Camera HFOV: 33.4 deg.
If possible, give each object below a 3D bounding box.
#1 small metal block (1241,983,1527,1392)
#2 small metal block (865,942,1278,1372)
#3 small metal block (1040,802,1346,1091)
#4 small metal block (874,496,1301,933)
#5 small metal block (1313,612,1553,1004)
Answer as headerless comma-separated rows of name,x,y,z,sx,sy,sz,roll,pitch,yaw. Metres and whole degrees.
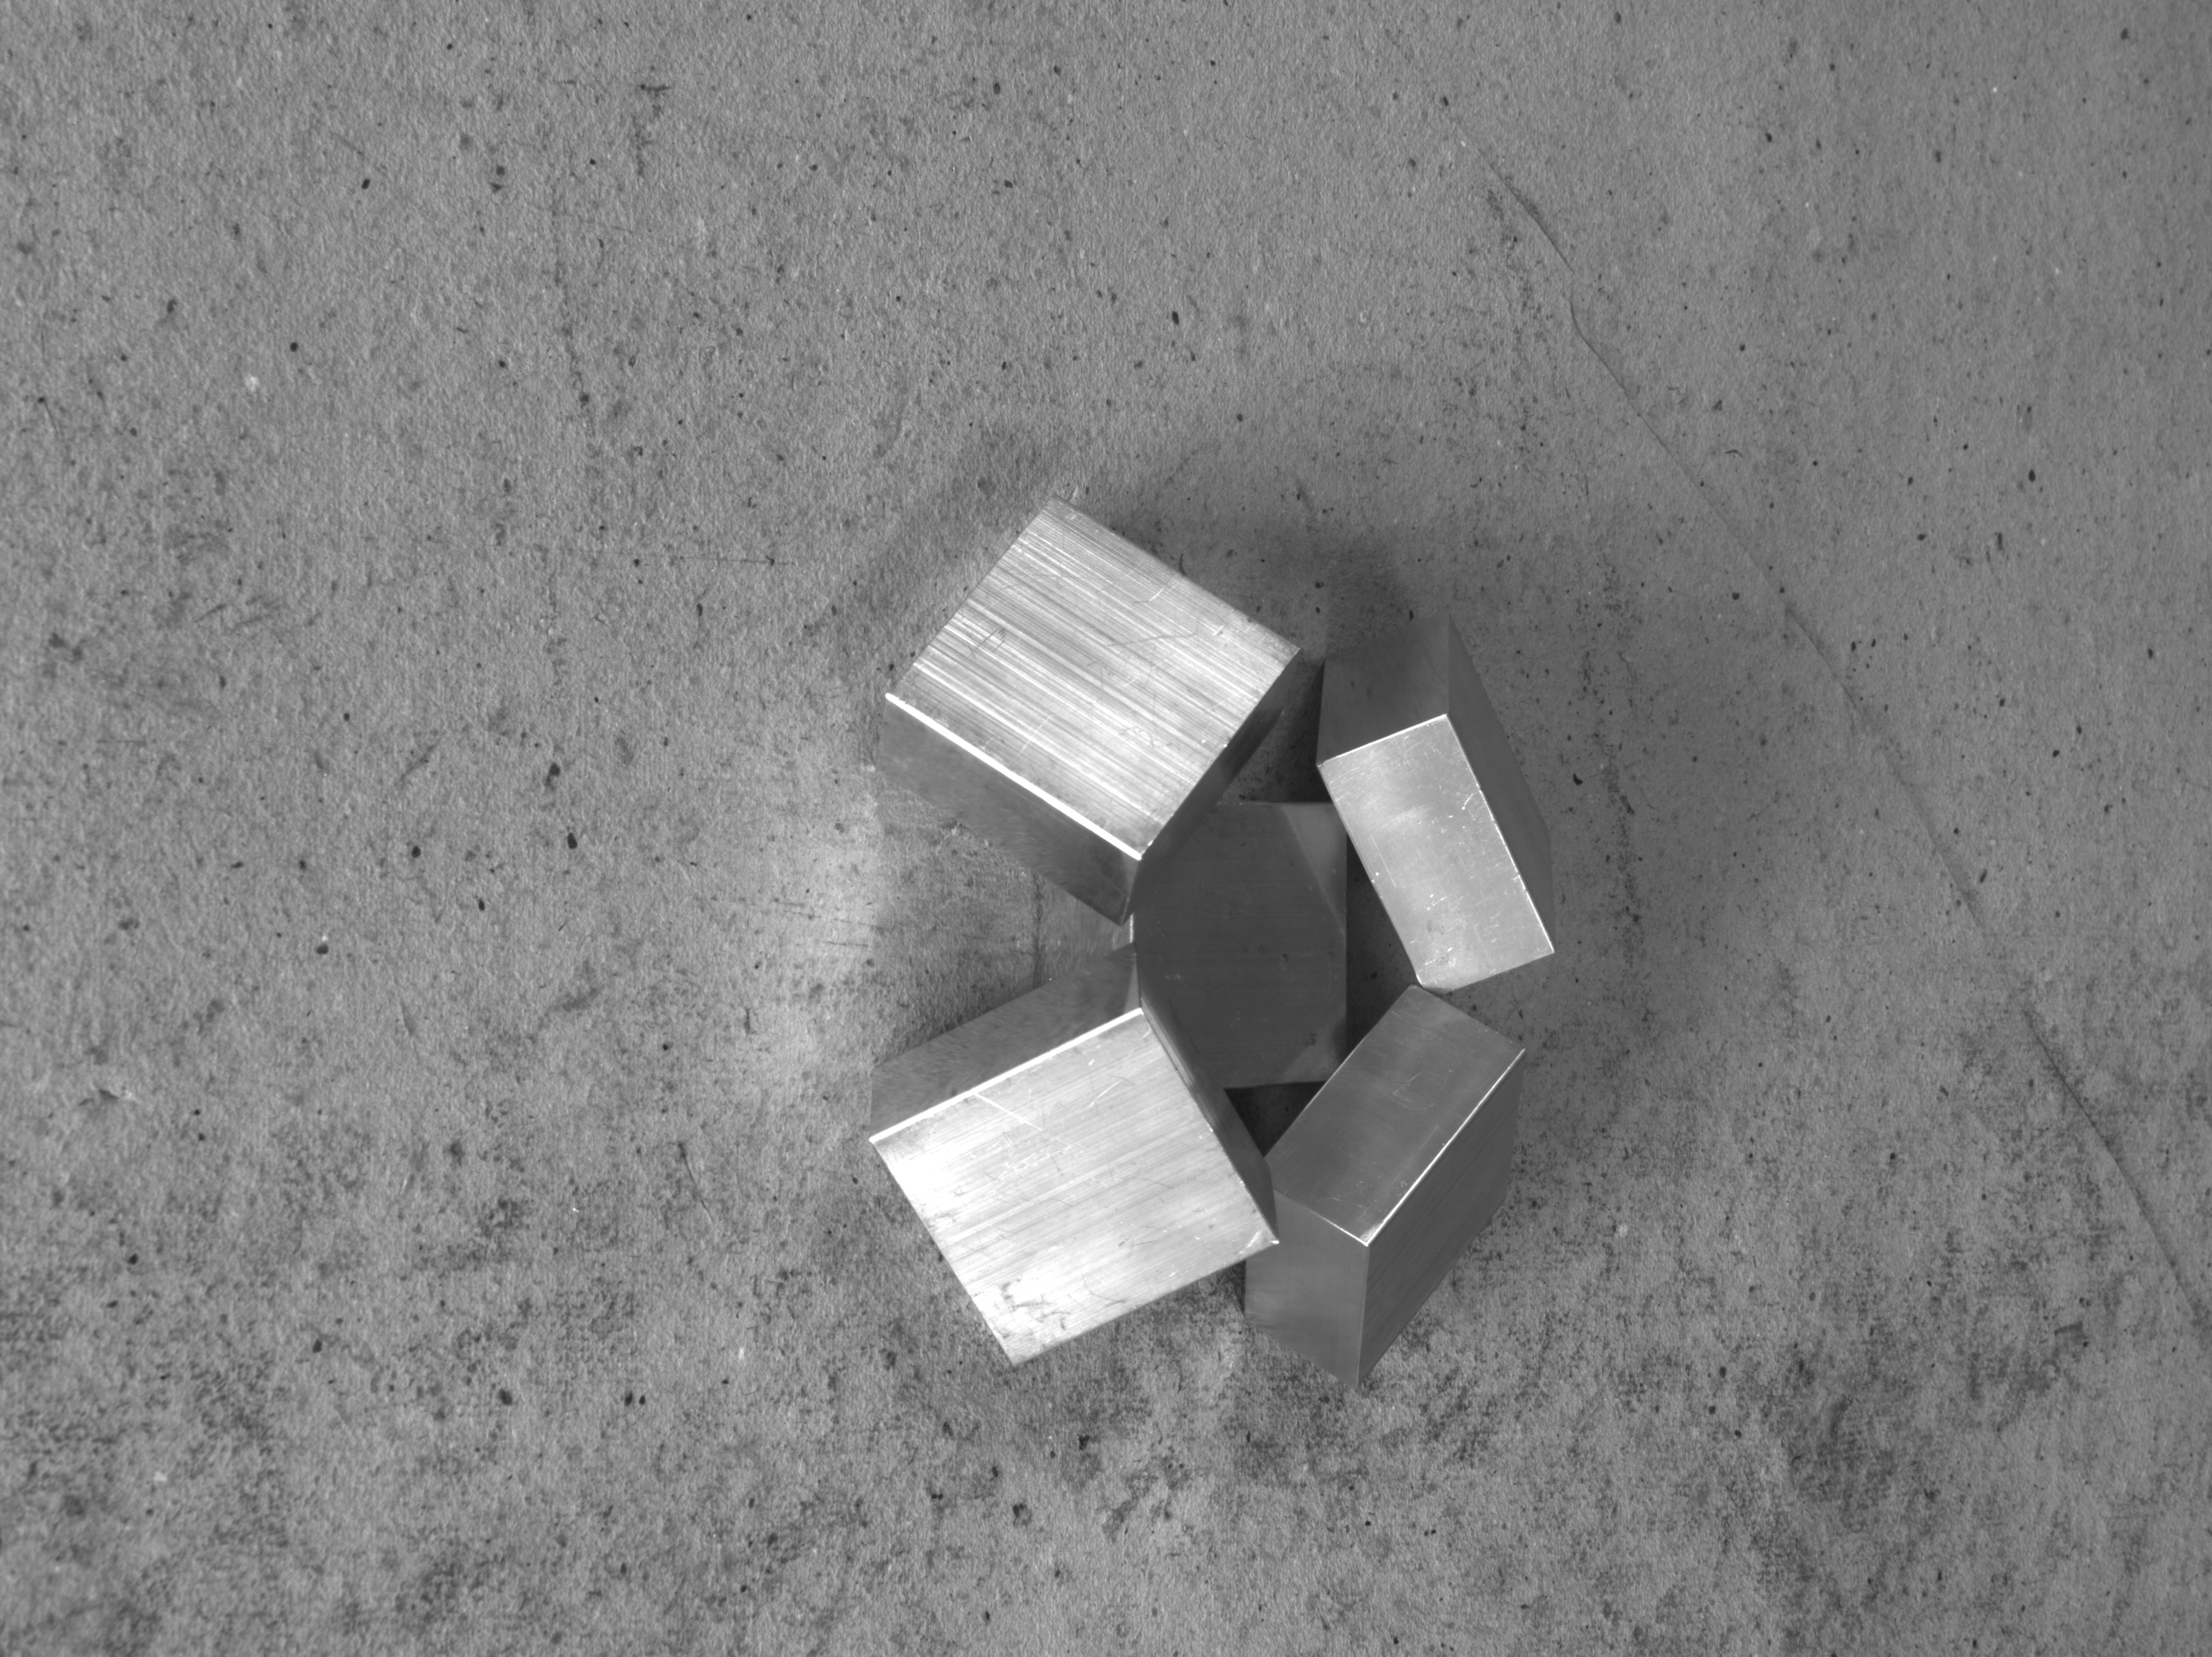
small metal block,0.049,0.065,0.662,0.050,0.025,0.050,-47,156,-29
small metal block,-0.006,0.055,0.615,0.050,0.025,0.050,-26,113,9
small metal block,0.016,0.020,0.650,0.050,0.025,0.050,0,90,-41
small metal block,-0.003,-0.019,0.618,0.050,0.025,0.050,32,62,10
small metal block,0.060,-0.004,0.670,0.050,0.025,0.050,-80,147,-65
